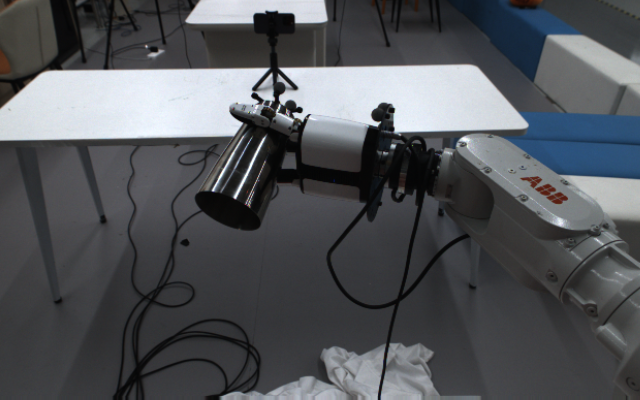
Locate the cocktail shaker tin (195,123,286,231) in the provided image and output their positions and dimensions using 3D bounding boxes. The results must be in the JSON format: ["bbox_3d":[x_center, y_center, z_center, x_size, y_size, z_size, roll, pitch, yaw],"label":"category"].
[{"bbox_3d":[-0.093,-0.057,0.665,0.093,0.093,0.170,13,59,16],"label":"cocktail shaker tin"}]
